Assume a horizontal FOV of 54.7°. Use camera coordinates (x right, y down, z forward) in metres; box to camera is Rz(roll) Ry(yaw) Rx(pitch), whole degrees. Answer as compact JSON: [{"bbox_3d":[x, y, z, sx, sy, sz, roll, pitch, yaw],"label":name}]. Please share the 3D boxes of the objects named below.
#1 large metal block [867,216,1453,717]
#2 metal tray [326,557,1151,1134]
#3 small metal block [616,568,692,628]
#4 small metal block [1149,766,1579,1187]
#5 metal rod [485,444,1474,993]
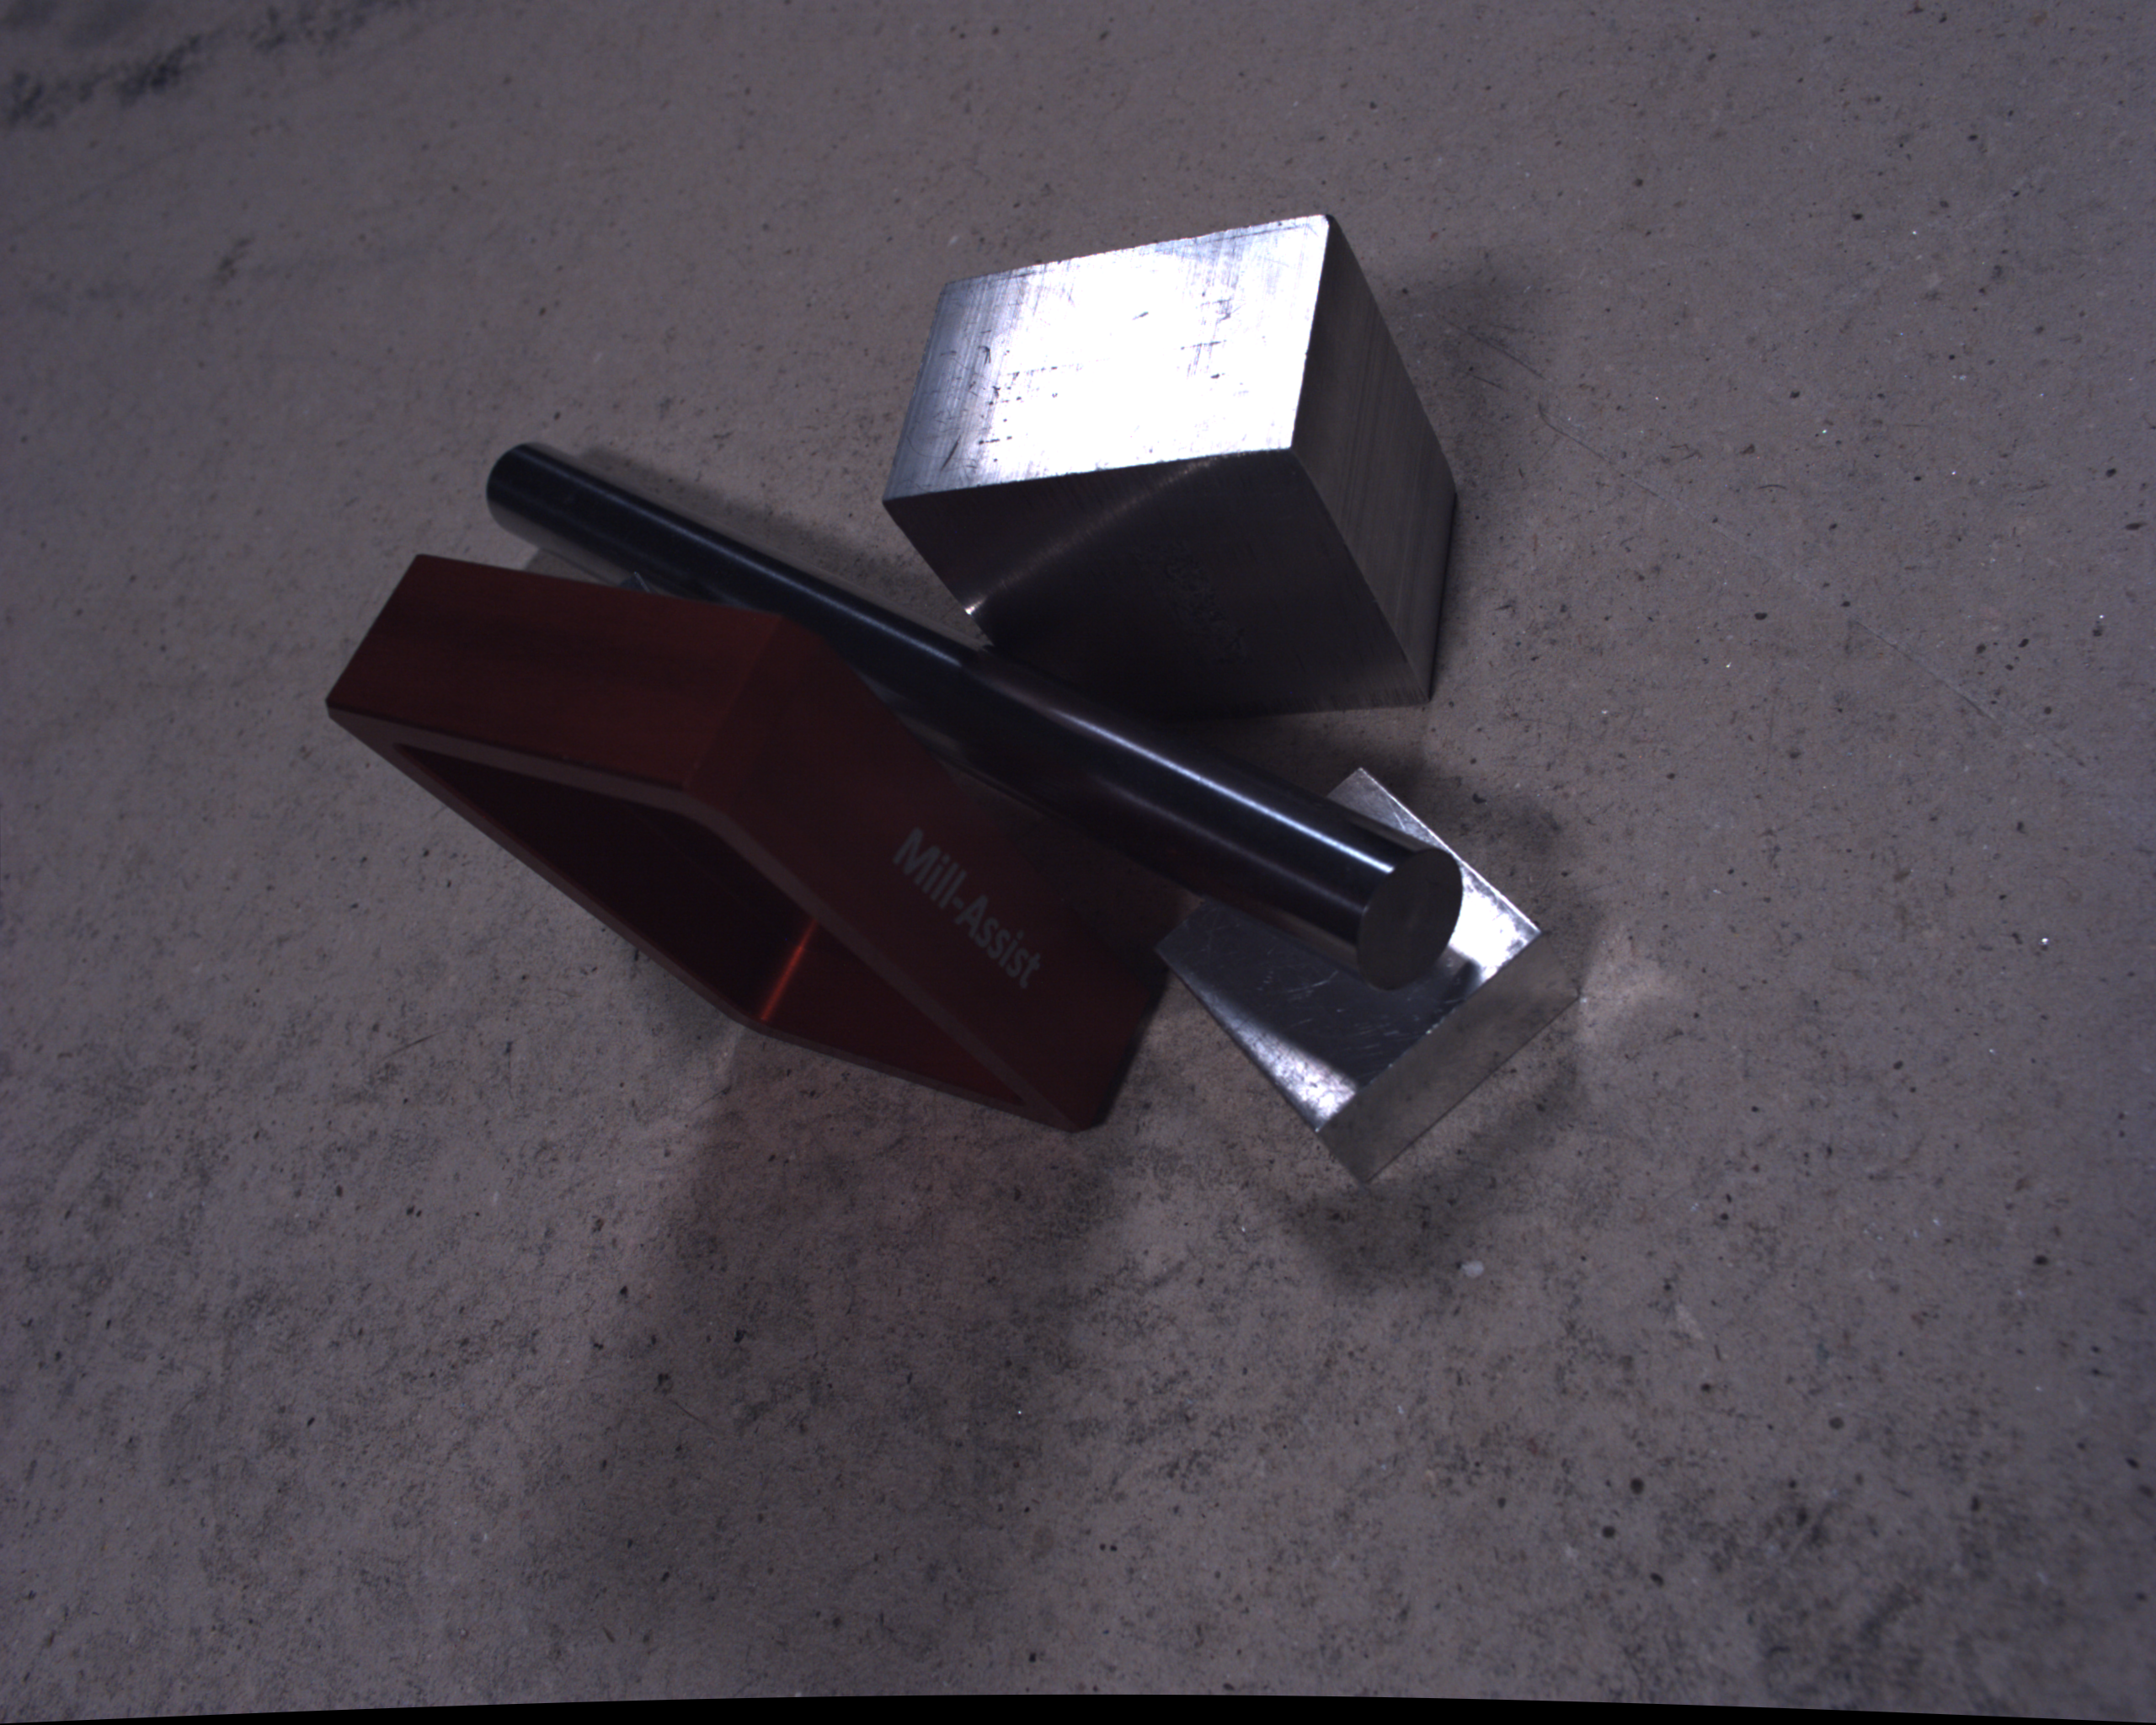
[{"bbox_3d":[0.019,-0.071,0.401,0.080,0.080,0.050,-2,61,27],"label":"large metal block"},{"bbox_3d":[-0.054,0.000,0.365,0.090,0.130,0.030,13,69,33],"label":"metal tray"},{"bbox_3d":[-0.082,-0.027,0.447,0.025,0.050,0.050,-39,51,2],"label":"small metal block"},{"bbox_3d":[0.050,0.019,0.367,0.050,0.025,0.050,-41,51,0],"label":"small metal block"},{"bbox_3d":[-0.043,-0.043,0.435,0.300,0.025,0.025,28,77,42],"label":"metal rod"}]
